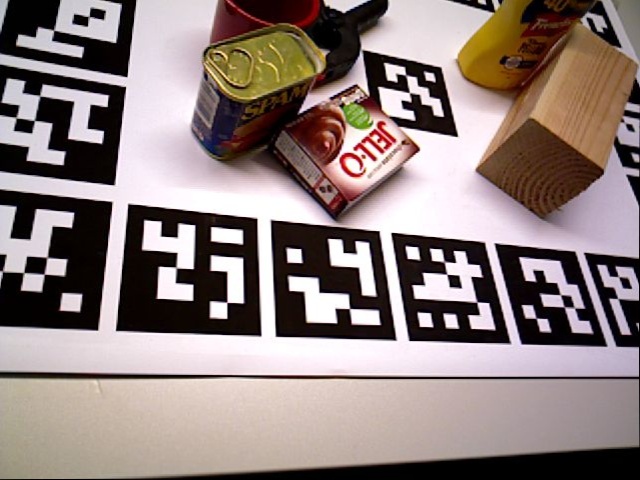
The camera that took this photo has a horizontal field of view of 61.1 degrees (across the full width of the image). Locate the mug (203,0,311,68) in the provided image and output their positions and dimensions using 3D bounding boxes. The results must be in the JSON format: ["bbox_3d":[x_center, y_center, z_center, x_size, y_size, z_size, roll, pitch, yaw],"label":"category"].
[{"bbox_3d":[-0.062,-0.198,0.518,0.093,0.083,0.115,25,59,-9],"label":"mug"}]

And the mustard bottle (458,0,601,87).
[{"bbox_3d":[0.236,-0.245,0.567,0.095,0.196,0.058,0,64,-22],"label":"mustard bottle"}]

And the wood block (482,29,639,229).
[{"bbox_3d":[0.265,-0.124,0.583,0.090,0.093,0.201,36,54,1],"label":"wood block"}]

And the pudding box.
[{"bbox_3d":[0.030,-0.076,0.491,0.090,0.039,0.111,48,55,6],"label":"pudding box"}]

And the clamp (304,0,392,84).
[{"bbox_3d":[0.009,-0.224,0.566,0.121,0.037,0.162,23,60,-12],"label":"clamp"}]

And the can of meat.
[{"bbox_3d":[-0.053,-0.116,0.444,0.099,0.086,0.058,-27,77,-31],"label":"can of meat"}]
